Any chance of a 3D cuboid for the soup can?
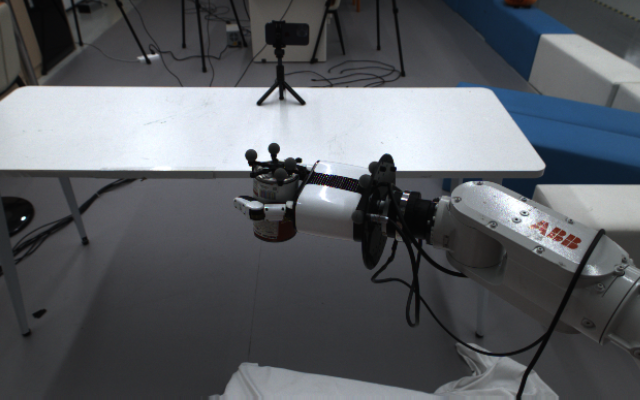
[{"bbox_3d":[-0.065,0.004,0.710,0.067,0.101,0.067,4,30,-2],"label":"soup can"}]
